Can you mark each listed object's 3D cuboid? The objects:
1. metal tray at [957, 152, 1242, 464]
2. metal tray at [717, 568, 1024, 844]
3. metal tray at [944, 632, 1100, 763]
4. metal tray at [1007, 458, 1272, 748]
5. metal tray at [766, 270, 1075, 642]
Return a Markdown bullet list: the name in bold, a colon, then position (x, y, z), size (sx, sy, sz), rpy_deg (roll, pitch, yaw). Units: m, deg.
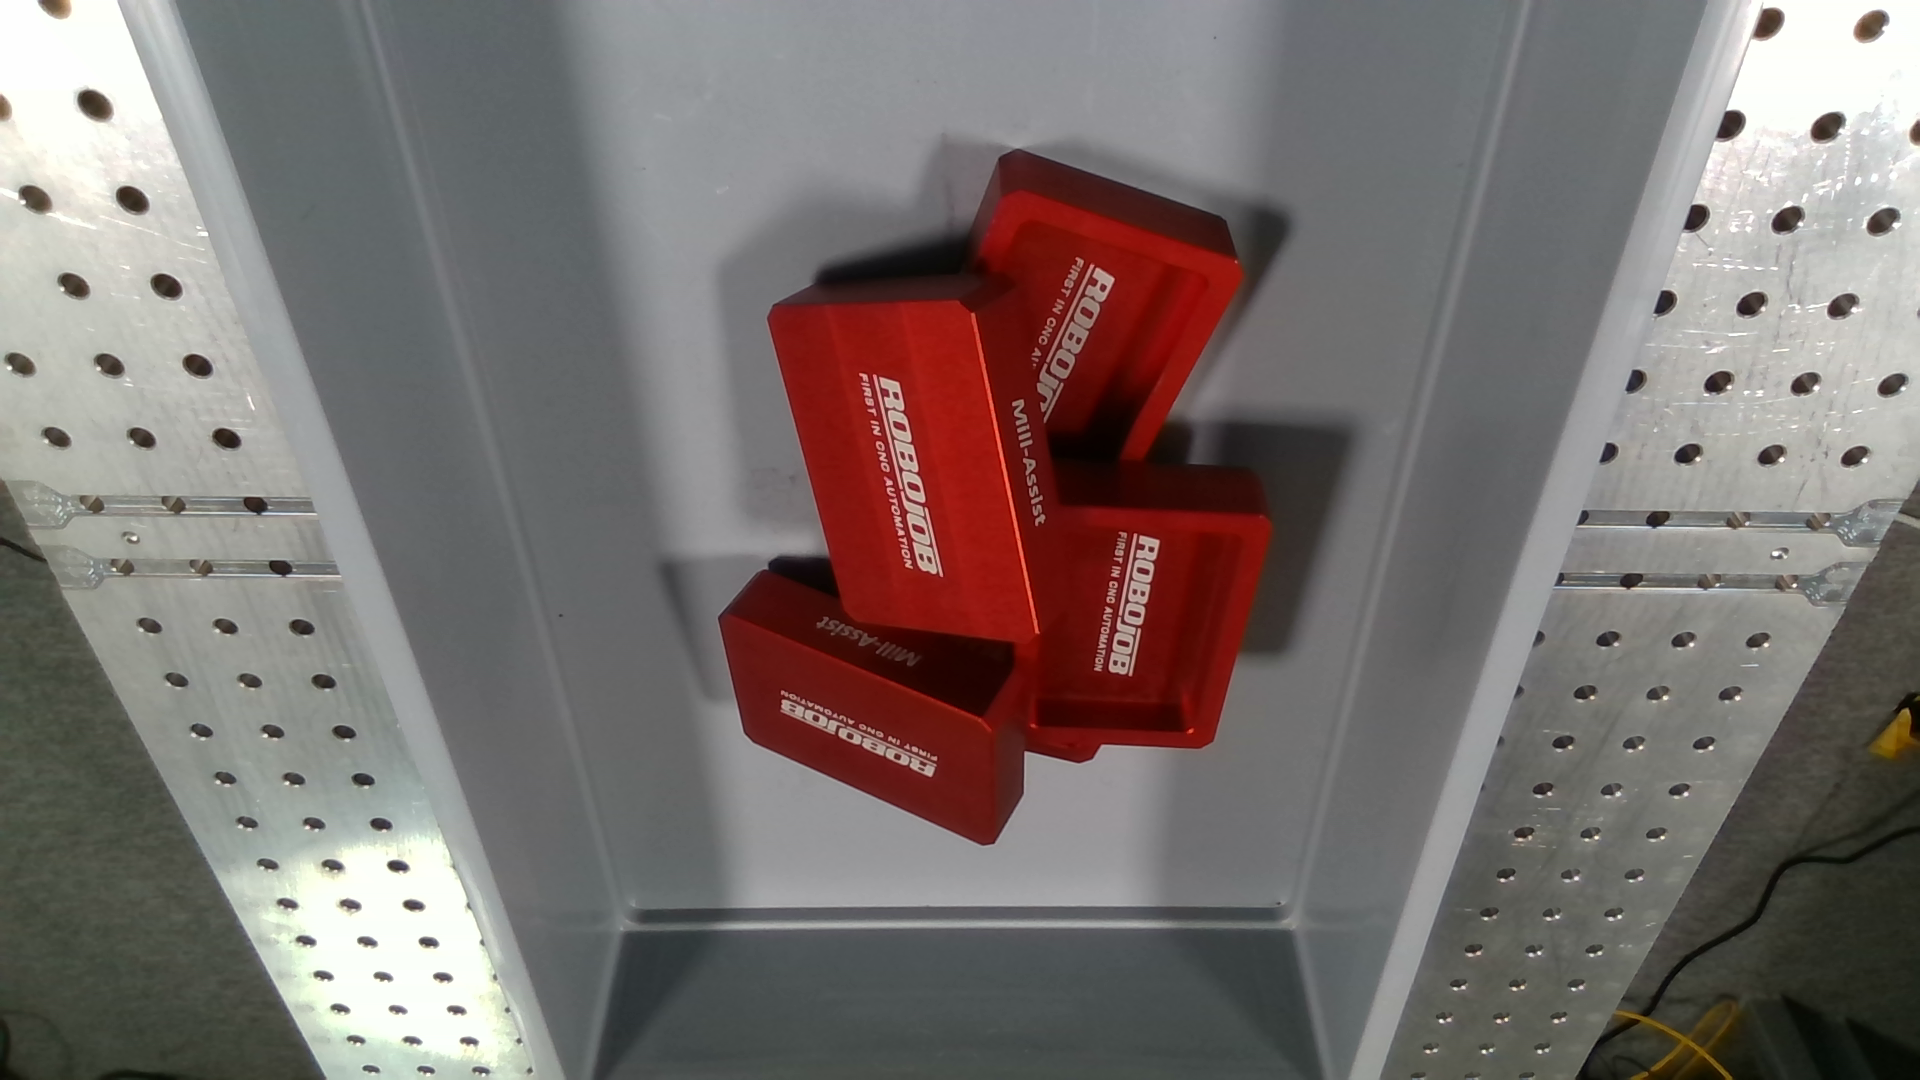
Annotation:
- **metal tray**: position (0.035, -0.068, 0.515), size (0.090, 0.030, 0.130), rpy_deg (15, 128, -12)
- **metal tray**: position (-0.037, 0.072, 0.593), size (0.130, 0.030, 0.090), rpy_deg (20, 140, 20)
- **metal tray**: position (0.013, 0.047, 0.614), size (0.130, 0.030, 0.090), rpy_deg (15, 128, -12)
- **metal tray**: position (0.067, 0.029, 0.559), size (0.090, 0.030, 0.130), rpy_deg (3, 130, -2)
- **metal tray**: position (-0.013, -0.030, 0.505), size (0.090, 0.030, 0.130), rpy_deg (5, 119, 34)
